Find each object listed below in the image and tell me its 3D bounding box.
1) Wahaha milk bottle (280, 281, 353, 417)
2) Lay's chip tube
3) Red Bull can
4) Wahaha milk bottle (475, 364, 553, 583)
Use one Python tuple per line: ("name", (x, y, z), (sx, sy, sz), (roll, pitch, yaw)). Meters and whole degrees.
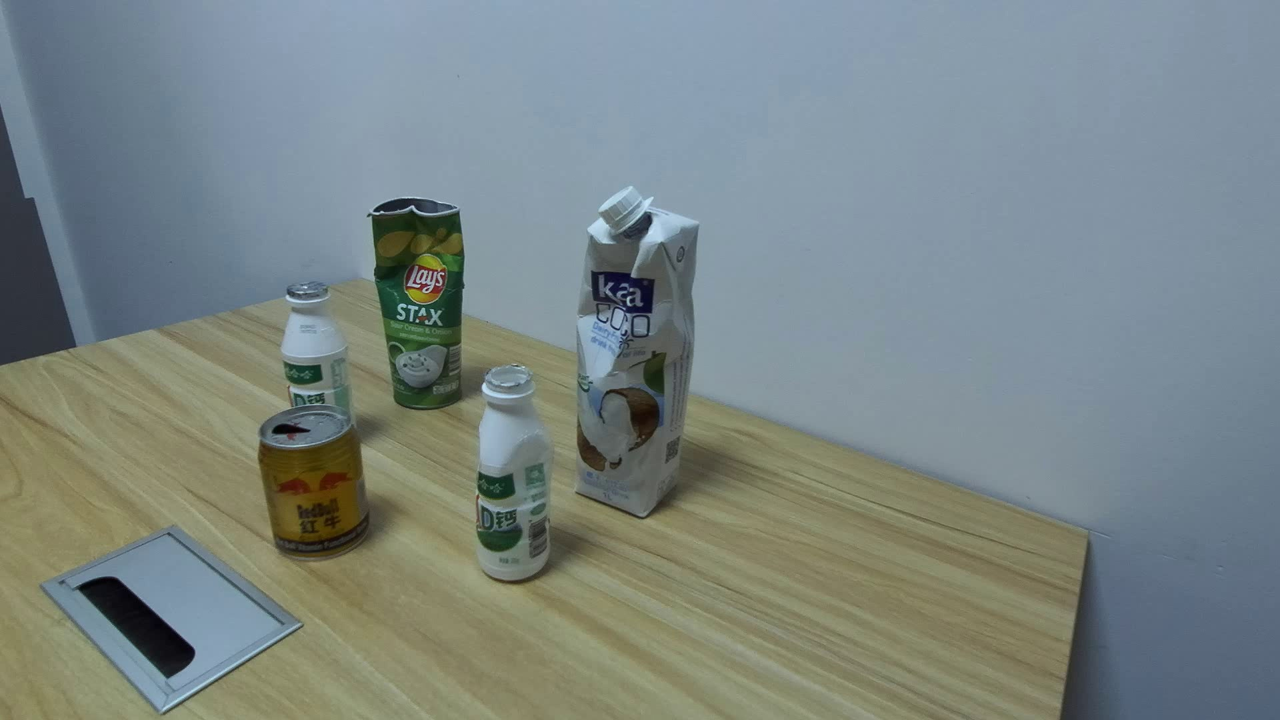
("Wahaha milk bottle", (-0.278, 0.008, 0.607), (0.053, 0.147, 0.053), (3, 24, -1))
("Lay's chip tube", (-0.214, -0.055, 0.695), (0.077, 0.201, 0.069), (-10, 27, -24))
("Red Bull can", (-0.231, 0.086, 0.503), (0.067, 0.093, 0.067), (3, 24, -1))
("Wahaha milk bottle", (-0.088, 0.077, 0.477), (0.055, 0.149, 0.055), (2, 25, 0))
